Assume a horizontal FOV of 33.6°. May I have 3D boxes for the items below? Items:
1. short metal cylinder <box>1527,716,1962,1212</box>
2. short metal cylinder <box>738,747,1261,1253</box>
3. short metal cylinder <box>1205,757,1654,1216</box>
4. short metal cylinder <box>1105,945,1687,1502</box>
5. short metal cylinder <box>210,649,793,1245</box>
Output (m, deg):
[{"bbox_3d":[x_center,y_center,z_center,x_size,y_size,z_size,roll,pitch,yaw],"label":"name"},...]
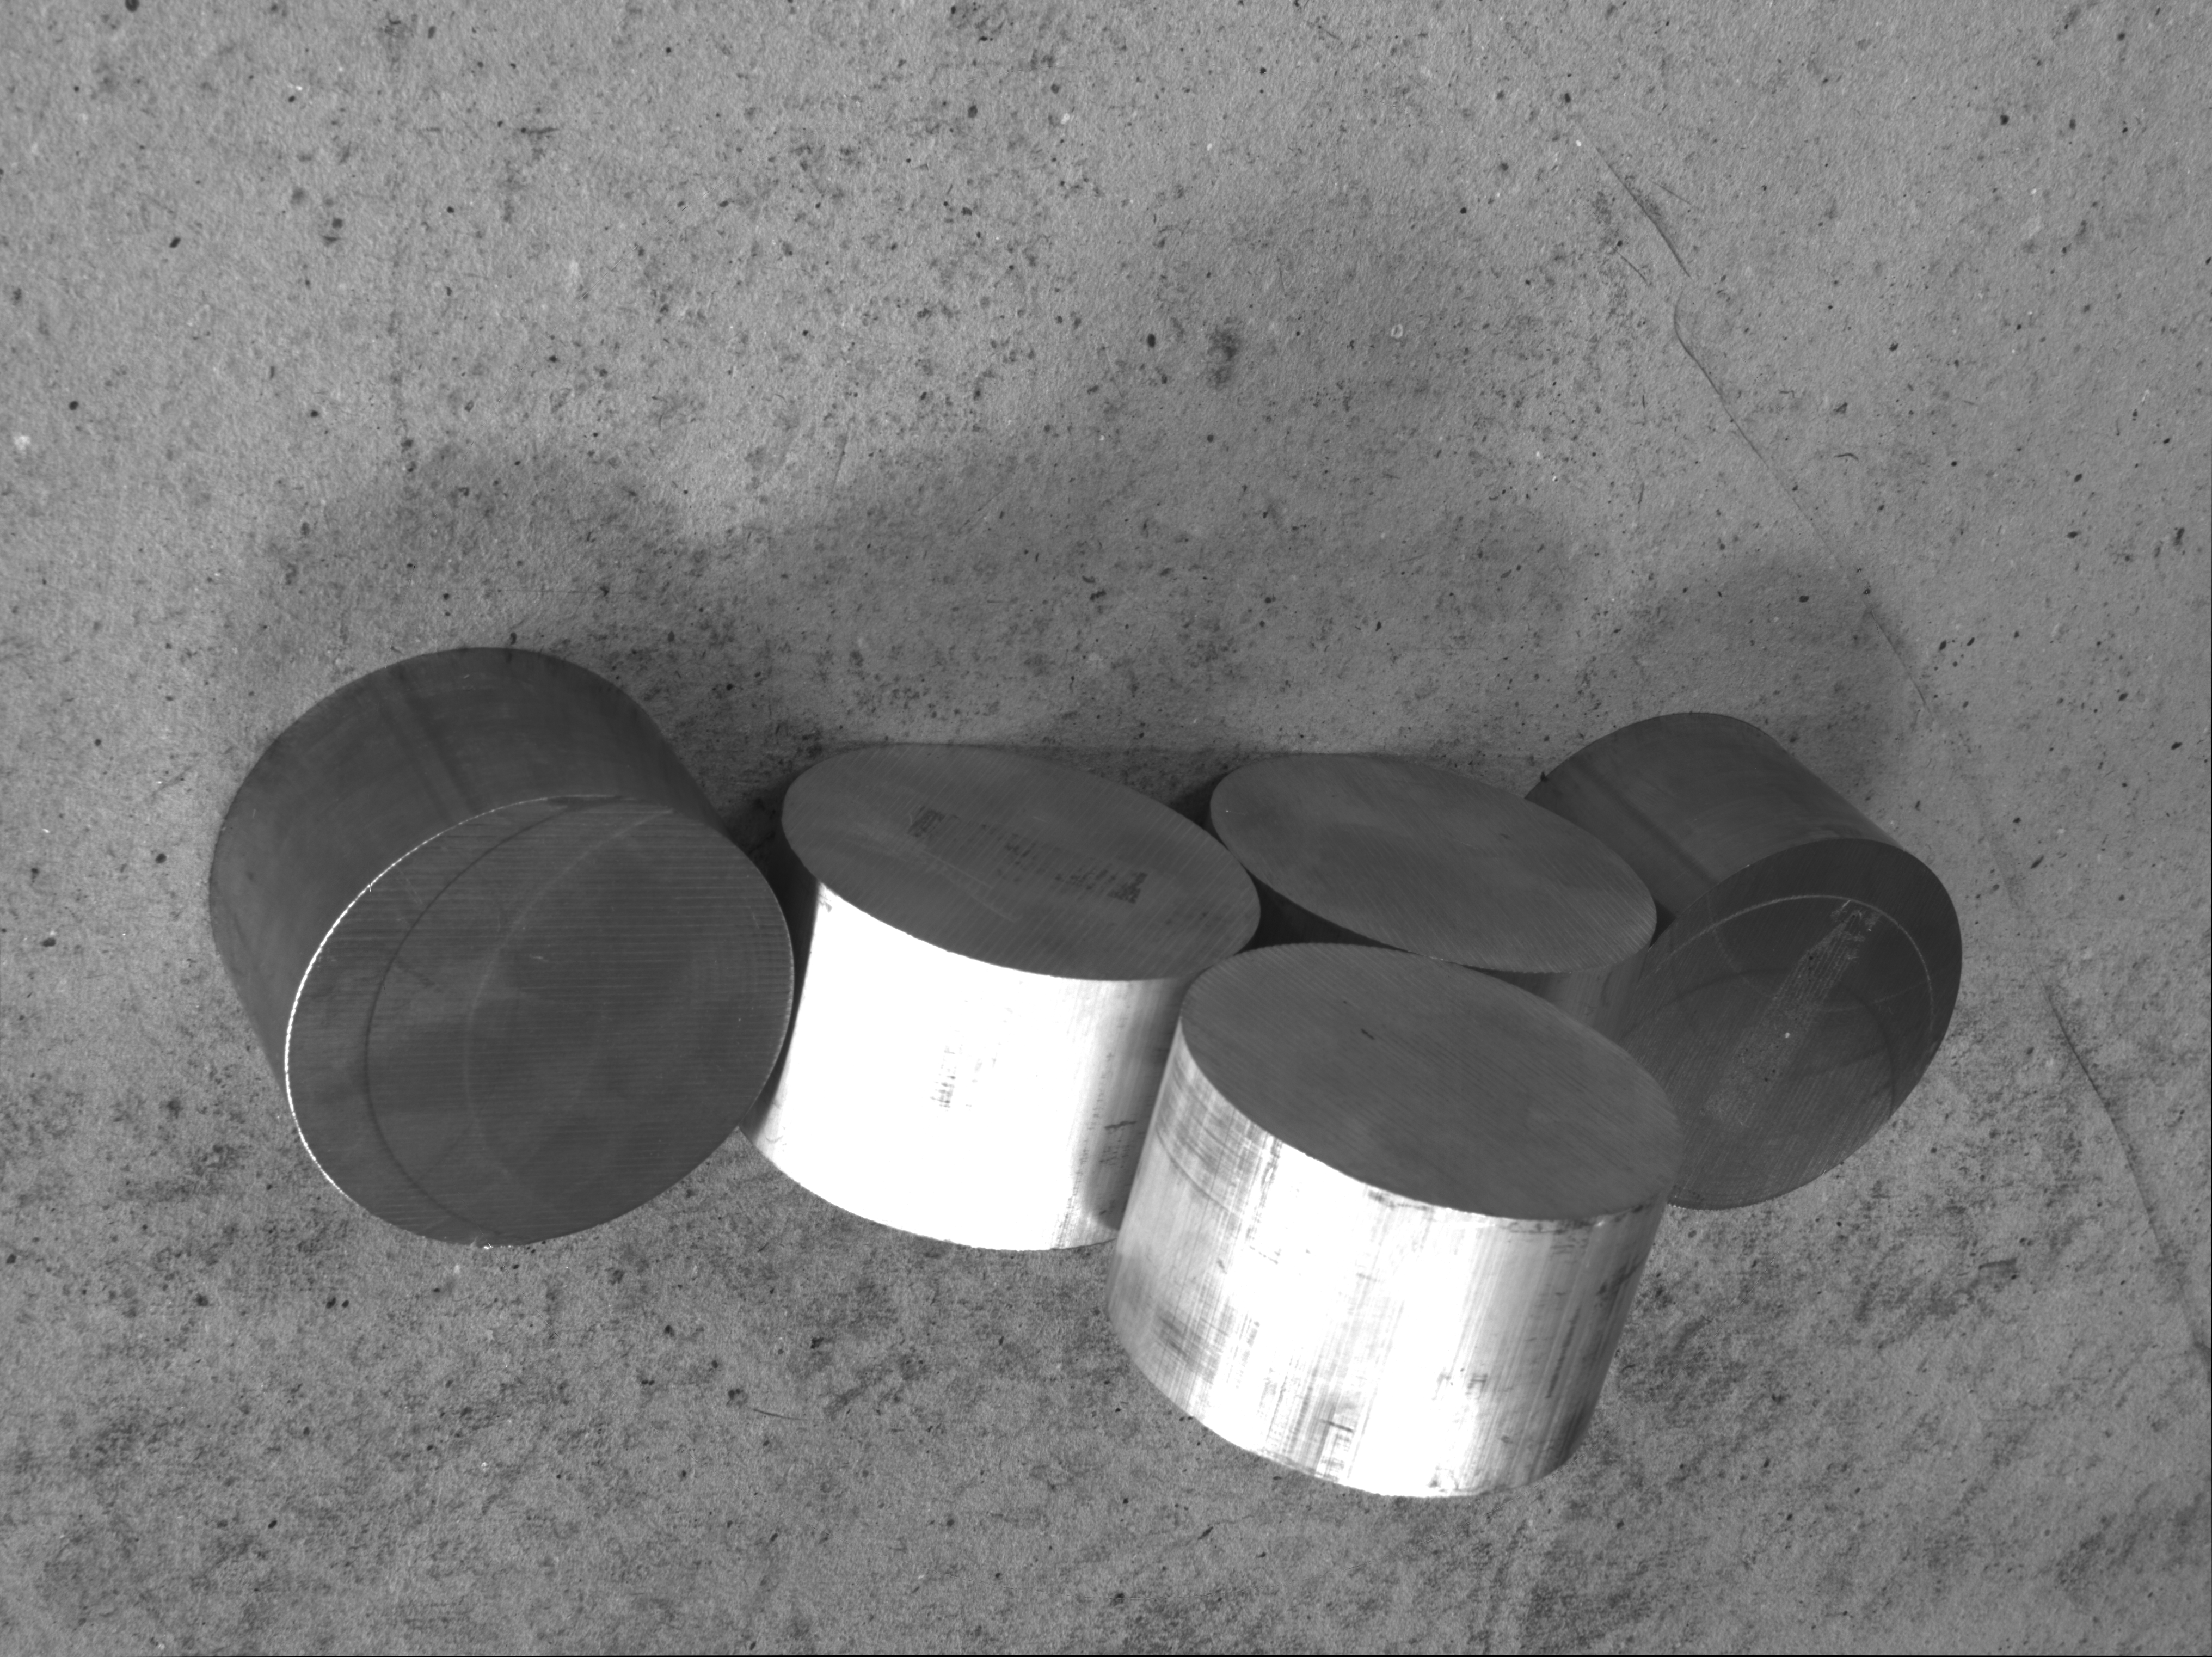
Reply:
[{"bbox_3d":[0.115,0.026,0.698,0.080,0.050,0.080,-14,124,-21],"label":"short metal cylinder"},{"bbox_3d":[-0.019,0.027,0.608,0.080,0.080,0.050,0,118,-28],"label":"short metal cylinder"},{"bbox_3d":[0.051,0.028,0.647,0.080,0.080,0.050,0,117,-28],"label":"short metal cylinder"},{"bbox_3d":[0.045,0.060,0.573,0.080,0.080,0.050,1,119,-28],"label":"short metal cylinder"},{"bbox_3d":[-0.096,0.019,0.581,0.080,0.050,0.080,-14,124,-21],"label":"short metal cylinder"}]
